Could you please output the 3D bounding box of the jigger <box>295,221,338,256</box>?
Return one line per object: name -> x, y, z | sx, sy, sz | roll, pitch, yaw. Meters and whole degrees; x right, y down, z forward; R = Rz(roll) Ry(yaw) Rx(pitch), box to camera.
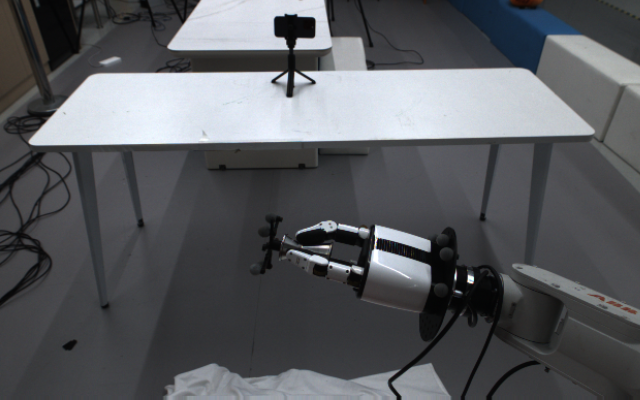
jigger -> -0.012, 0.070, 0.671 | 0.071, 0.043, 0.043 | 12, 36, 5
